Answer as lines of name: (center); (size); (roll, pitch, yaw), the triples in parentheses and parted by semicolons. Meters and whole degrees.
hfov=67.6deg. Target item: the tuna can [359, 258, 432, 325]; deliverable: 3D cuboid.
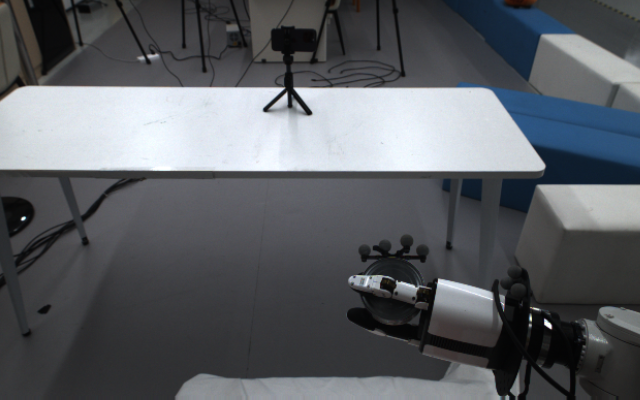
tuna can: (0.098, 0.121, 0.645); (0.085, 0.034, 0.085); (-6, 61, 11)
